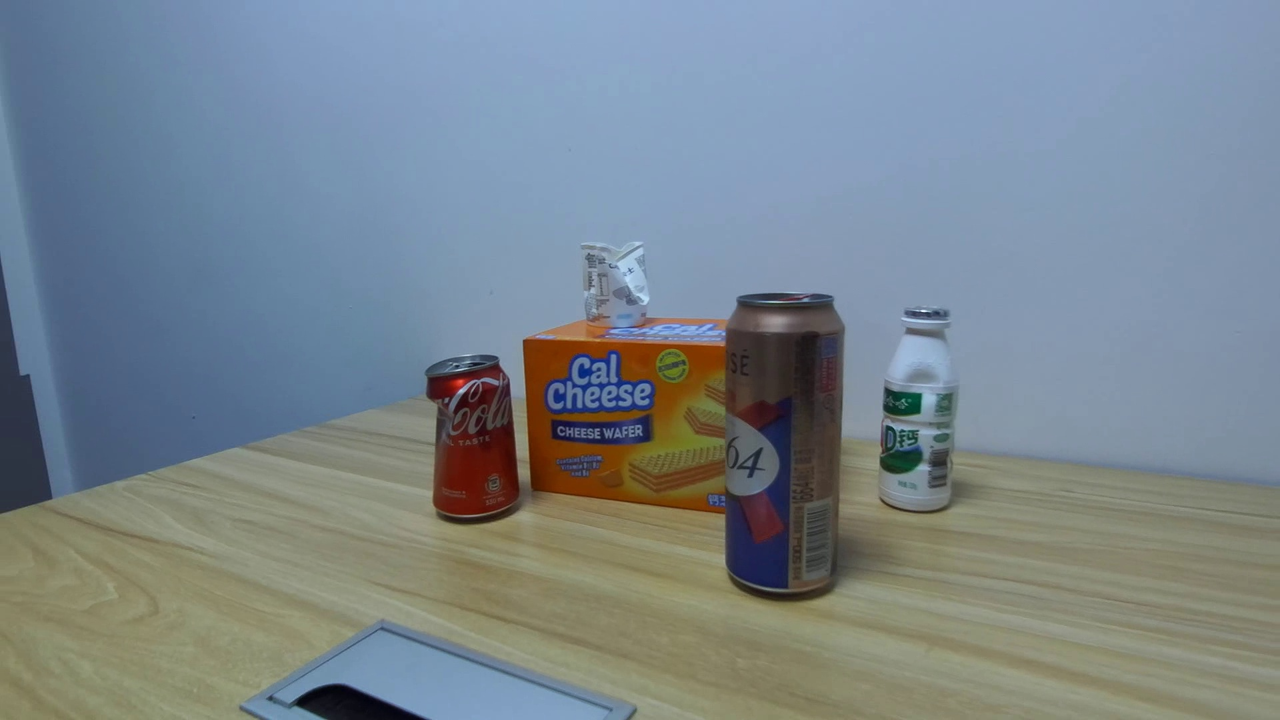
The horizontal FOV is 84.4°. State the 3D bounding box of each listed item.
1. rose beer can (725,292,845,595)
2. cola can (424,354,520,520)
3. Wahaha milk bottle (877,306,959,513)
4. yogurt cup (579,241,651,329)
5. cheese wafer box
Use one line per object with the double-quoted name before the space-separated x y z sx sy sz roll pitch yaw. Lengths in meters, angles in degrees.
"rose beer can" 0.084 0.049 0.412 0.068 0.169 0.068 -1 11 0
"cola can" -0.125 0.058 0.533 0.065 0.117 0.072 -4 10 -15
"Wahaha milk bottle" 0.206 0.041 0.522 0.053 0.136 0.053 0 10 0
"yogurt cup" -0.022 -0.068 0.625 0.055 0.072 0.055 -6 13 -22
"cheese wafer box" 0.036 0.038 0.593 0.221 0.129 0.148 2 11 21
